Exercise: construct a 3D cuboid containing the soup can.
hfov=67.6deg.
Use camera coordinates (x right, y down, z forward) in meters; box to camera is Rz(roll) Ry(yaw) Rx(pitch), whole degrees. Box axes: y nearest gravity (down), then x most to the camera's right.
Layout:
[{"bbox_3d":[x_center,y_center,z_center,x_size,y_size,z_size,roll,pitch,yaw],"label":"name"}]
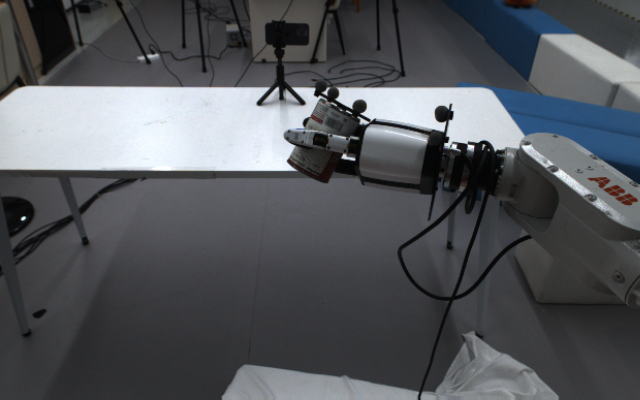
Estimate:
[{"bbox_3d":[0.006,-0.083,0.688,0.067,0.101,0.067,28,10,-5],"label":"soup can"}]
